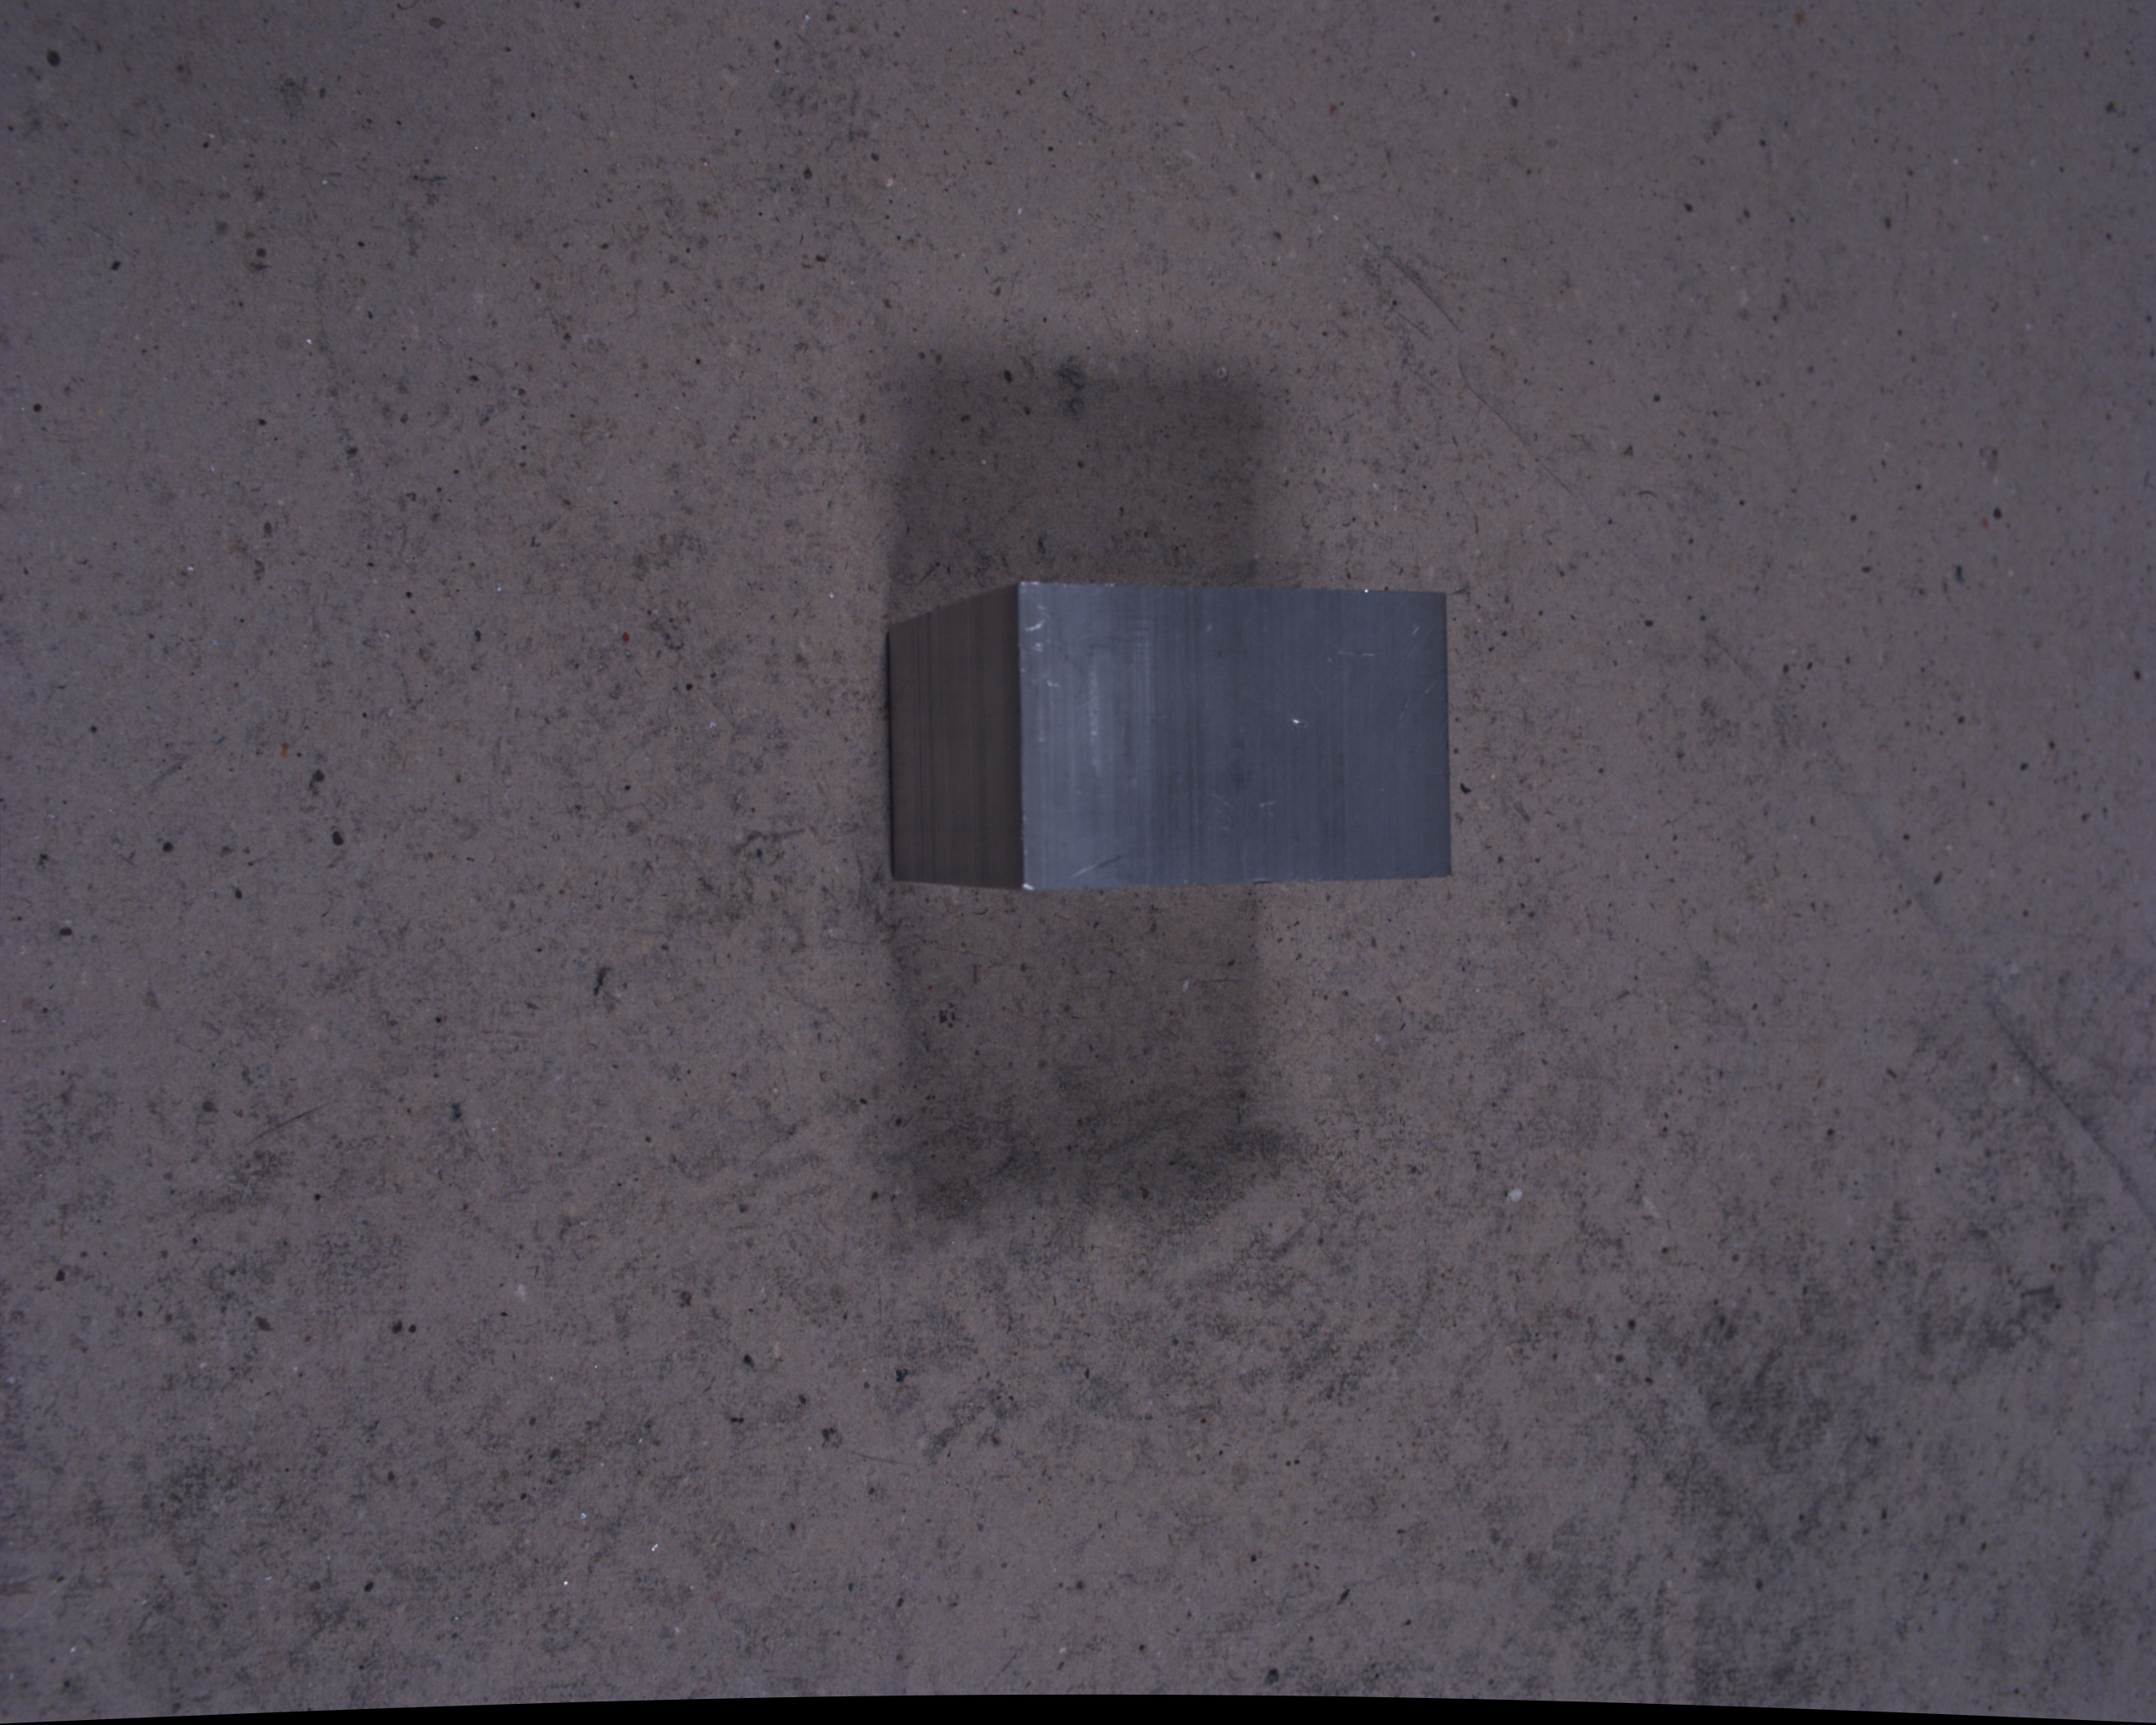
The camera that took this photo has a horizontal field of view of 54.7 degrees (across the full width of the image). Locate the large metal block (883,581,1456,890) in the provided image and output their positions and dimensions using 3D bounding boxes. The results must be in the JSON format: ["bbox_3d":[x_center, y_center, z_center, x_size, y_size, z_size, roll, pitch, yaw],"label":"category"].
[{"bbox_3d":[0.014,-0.022,0.387,0.081,0.080,0.050,-1,91,-20],"label":"large metal block"}]
